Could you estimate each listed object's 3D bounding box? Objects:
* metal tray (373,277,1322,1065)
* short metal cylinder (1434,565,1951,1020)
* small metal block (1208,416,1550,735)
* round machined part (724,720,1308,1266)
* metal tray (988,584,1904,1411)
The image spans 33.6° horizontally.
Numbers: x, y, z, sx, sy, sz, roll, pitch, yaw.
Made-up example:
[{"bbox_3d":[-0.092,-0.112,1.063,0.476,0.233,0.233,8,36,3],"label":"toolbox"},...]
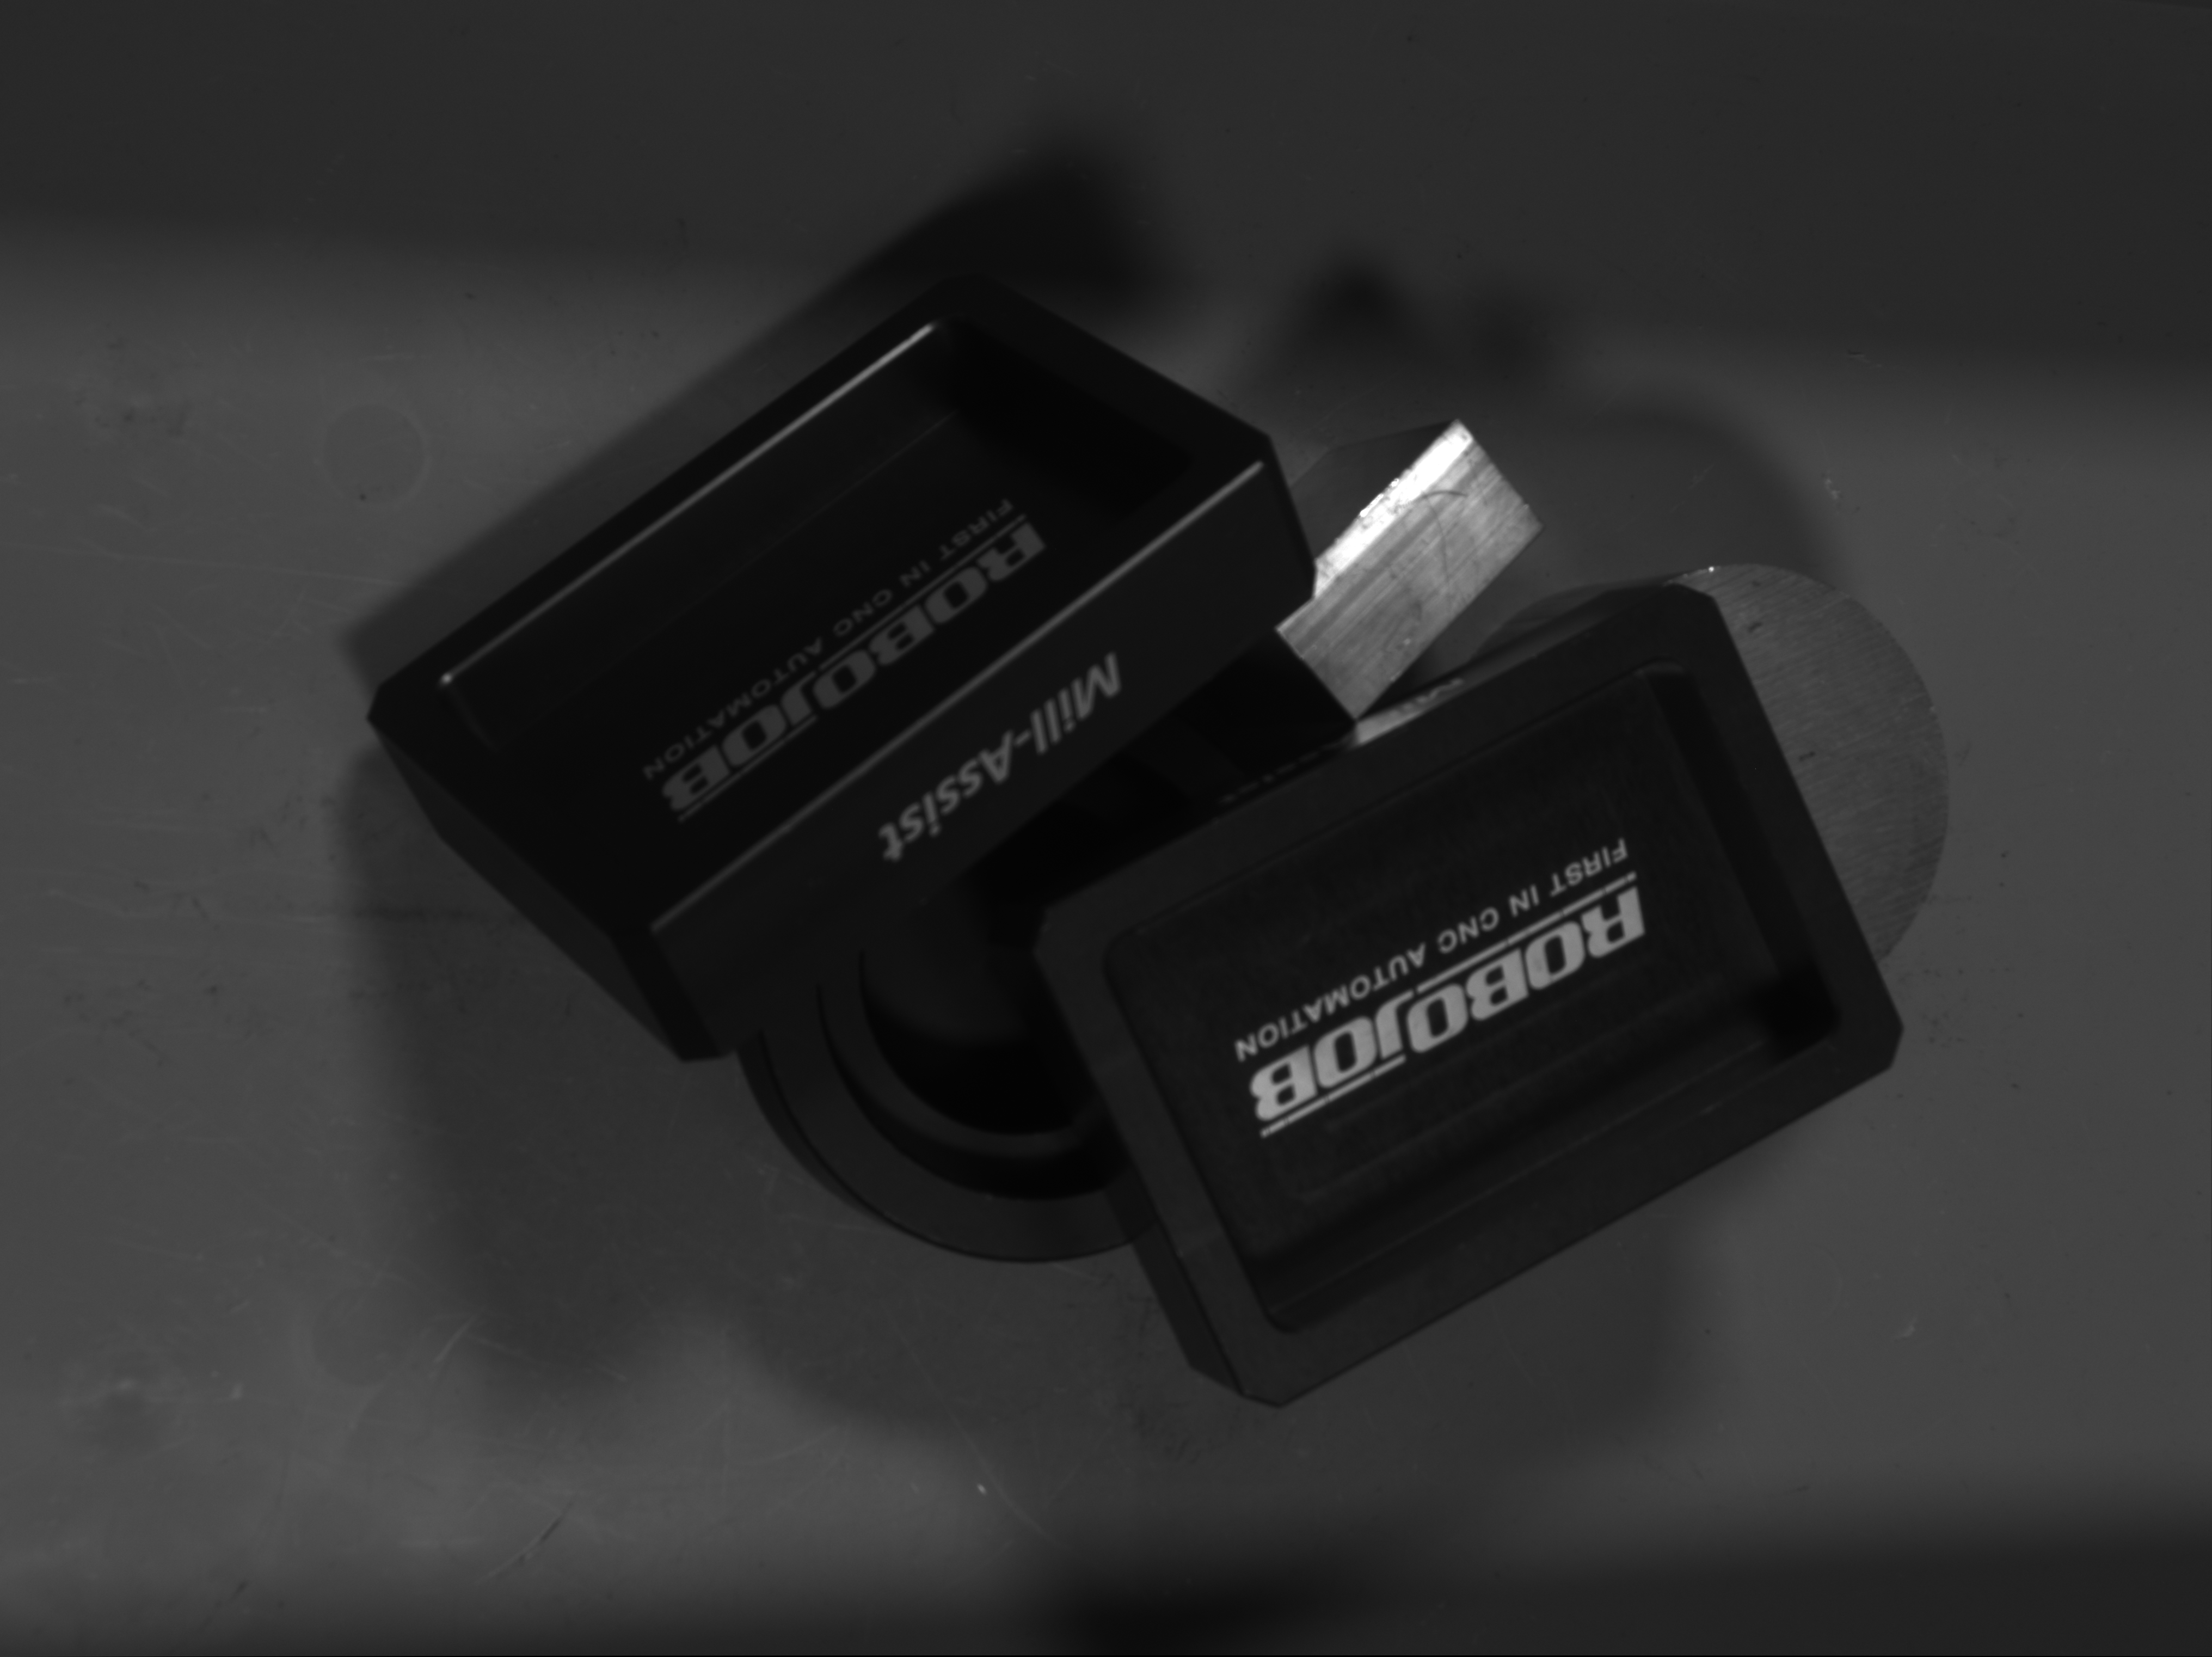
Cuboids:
[{"bbox_3d":[-0.042,-0.029,0.591,0.130,0.090,0.030,-38,134,-16],"label":"metal tray"},{"bbox_3d":[0.106,-0.006,0.667,0.080,0.050,0.080,0,90,-20],"label":"short metal cylinder"},{"bbox_3d":[0.042,-0.044,0.644,0.050,0.050,0.025,-45,104,-16],"label":"small metal block"},{"bbox_3d":[-0.018,0.024,0.628,0.098,0.042,0.098,0,90,-20],"label":"round machined part"},{"bbox_3d":[0.058,0.026,0.610,0.130,0.030,0.090,-27,98,-13],"label":"metal tray"}]
